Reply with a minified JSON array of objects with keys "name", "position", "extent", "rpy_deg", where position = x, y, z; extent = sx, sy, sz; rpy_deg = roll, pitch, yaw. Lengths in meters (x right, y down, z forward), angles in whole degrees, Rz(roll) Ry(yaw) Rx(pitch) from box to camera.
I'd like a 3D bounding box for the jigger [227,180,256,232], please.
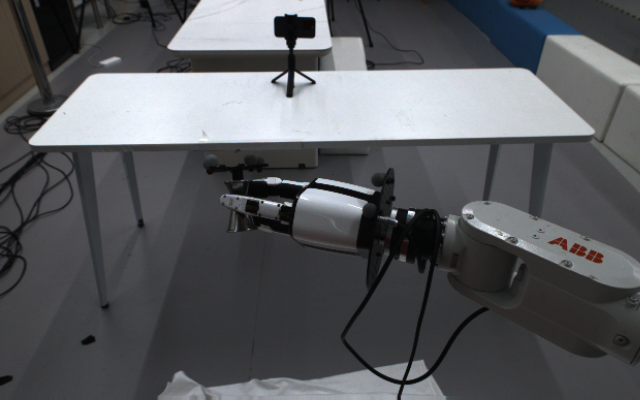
[{"name":"jigger","position":[-0.109,0.007,0.658],"extent":[0.043,0.071,0.043],"rpy_deg":[-4,1,0]}]
